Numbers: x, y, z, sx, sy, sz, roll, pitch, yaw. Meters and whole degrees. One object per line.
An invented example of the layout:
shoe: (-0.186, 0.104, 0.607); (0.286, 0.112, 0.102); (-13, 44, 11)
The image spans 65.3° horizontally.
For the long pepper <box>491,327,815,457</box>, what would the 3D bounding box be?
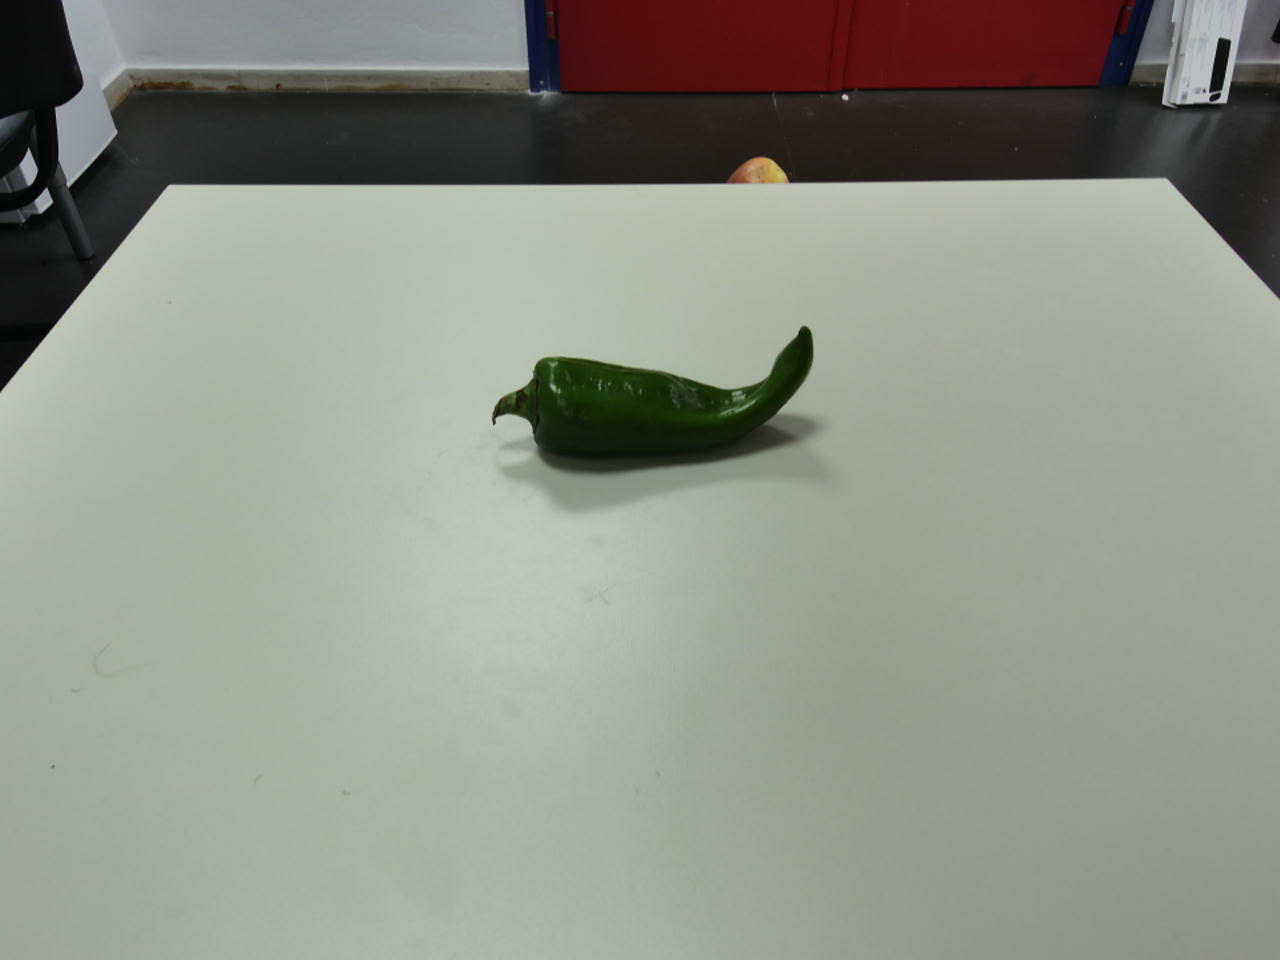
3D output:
long pepper: (0.007, -0.047, 0.538); (0.175, 0.065, 0.058); (-1, 39, -1)
